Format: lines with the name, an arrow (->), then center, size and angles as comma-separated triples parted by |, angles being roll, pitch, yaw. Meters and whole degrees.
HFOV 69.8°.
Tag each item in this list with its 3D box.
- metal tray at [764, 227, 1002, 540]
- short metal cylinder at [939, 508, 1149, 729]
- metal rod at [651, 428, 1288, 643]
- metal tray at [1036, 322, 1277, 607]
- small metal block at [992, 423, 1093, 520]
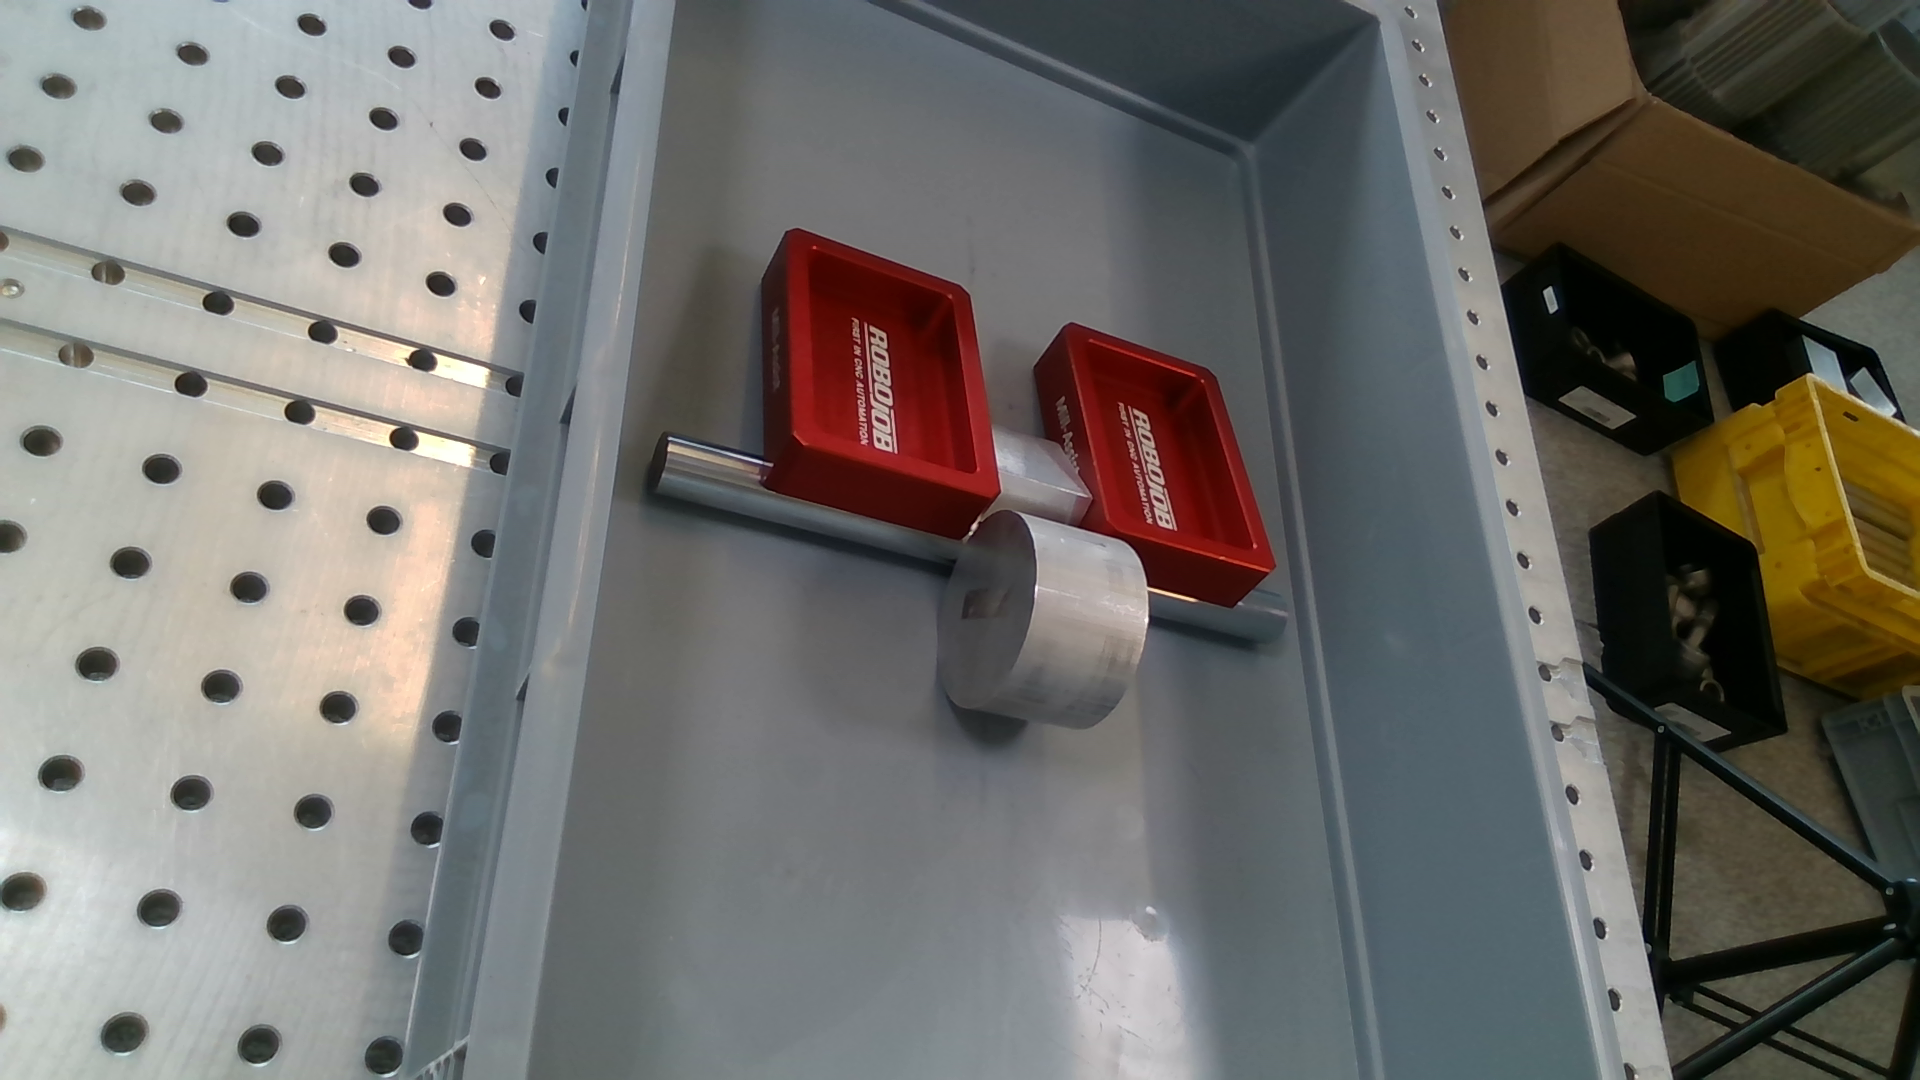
metal tray -> -0.035, -0.067, 0.578 | 0.090, 0.030, 0.130 | 15, 46, -25
short metal cylinder -> 0.032, 0.032, 0.552 | 0.050, 0.080, 0.080 | 14, 59, -25
metal rod -> 0.016, 0.003, 0.593 | 0.300, 0.025, 0.025 | 14, 59, -25
metal tray -> 0.088, -0.037, 0.638 | 0.090, 0.030, 0.130 | 14, 46, -25
small metal block -> 0.023, -0.027, 0.600 | 0.050, 0.025, 0.050 | 15, 27, -24
